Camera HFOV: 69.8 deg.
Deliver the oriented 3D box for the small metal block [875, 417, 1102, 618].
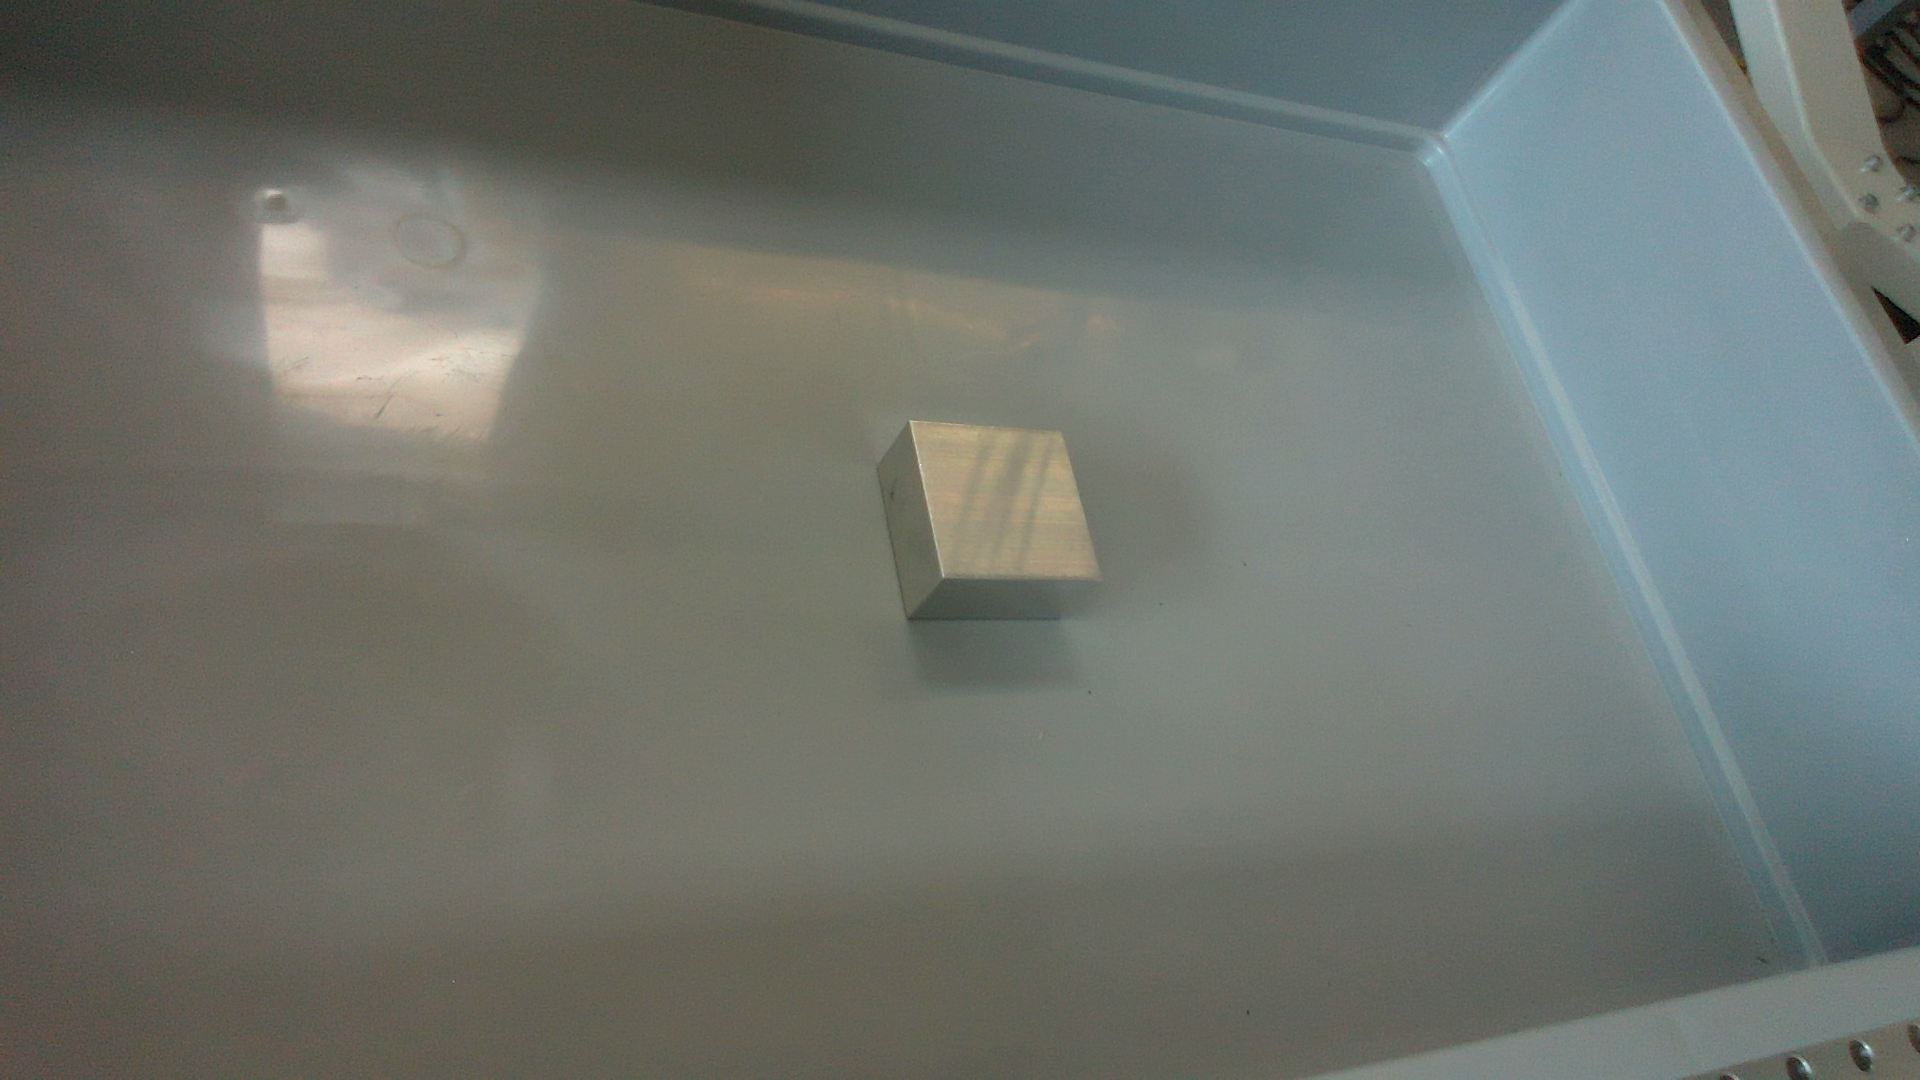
[{"bbox_3d":[0.007,-0.006,0.393,0.050,0.025,0.050,2,61,-27],"label":"small metal block"}]
